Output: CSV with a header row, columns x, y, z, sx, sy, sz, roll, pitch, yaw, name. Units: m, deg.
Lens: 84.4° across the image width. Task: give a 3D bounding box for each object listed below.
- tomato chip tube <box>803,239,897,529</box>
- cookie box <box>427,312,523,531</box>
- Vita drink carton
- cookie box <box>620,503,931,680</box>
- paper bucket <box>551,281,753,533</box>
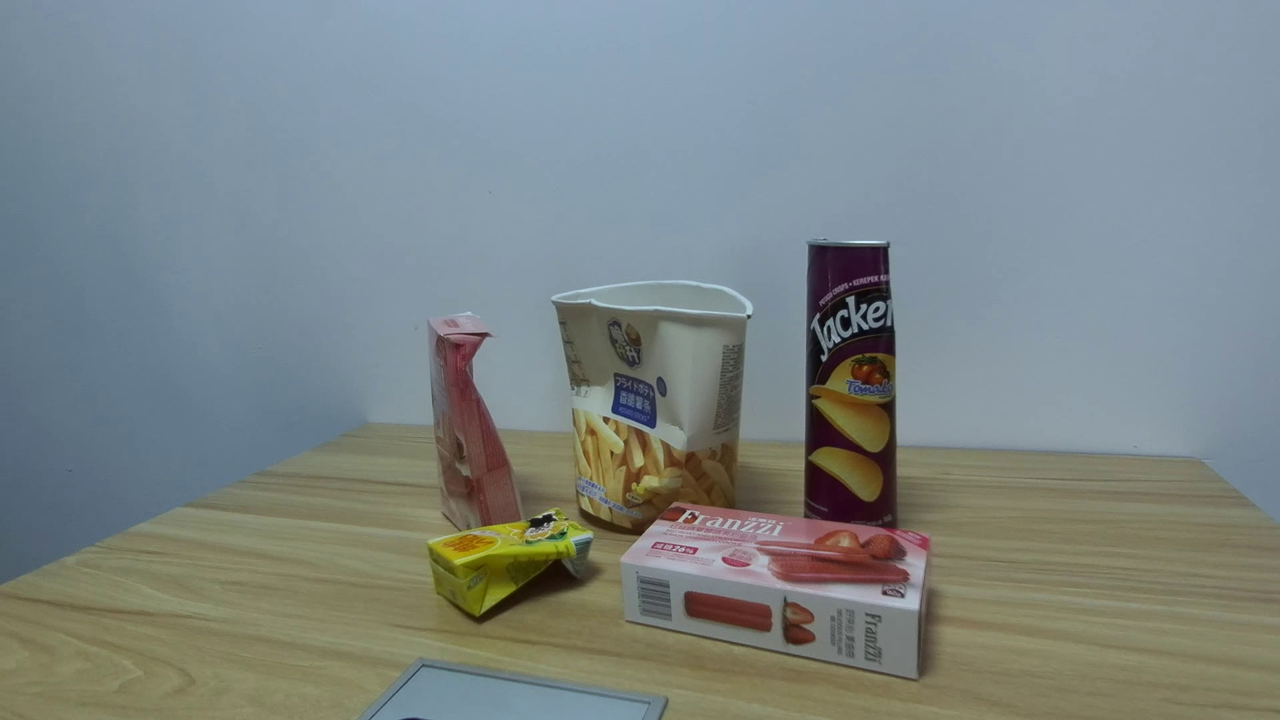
x,y,z,sx,sy,sz,roll,pitch,yaw,name
0.168,0.022,0.565,0.076,0.235,0.078,2,12,26,tomato chip tube
-0.145,0.058,0.615,0.056,0.184,0.118,-10,13,-25,cookie box
-0.093,0.147,0.521,0.109,0.042,0.086,-8,5,-34,Vita drink carton
0.089,0.143,0.464,0.184,0.048,0.096,2,14,24,cookie box
0.011,0.036,0.629,0.217,0.199,0.148,2,13,24,paper bucket
